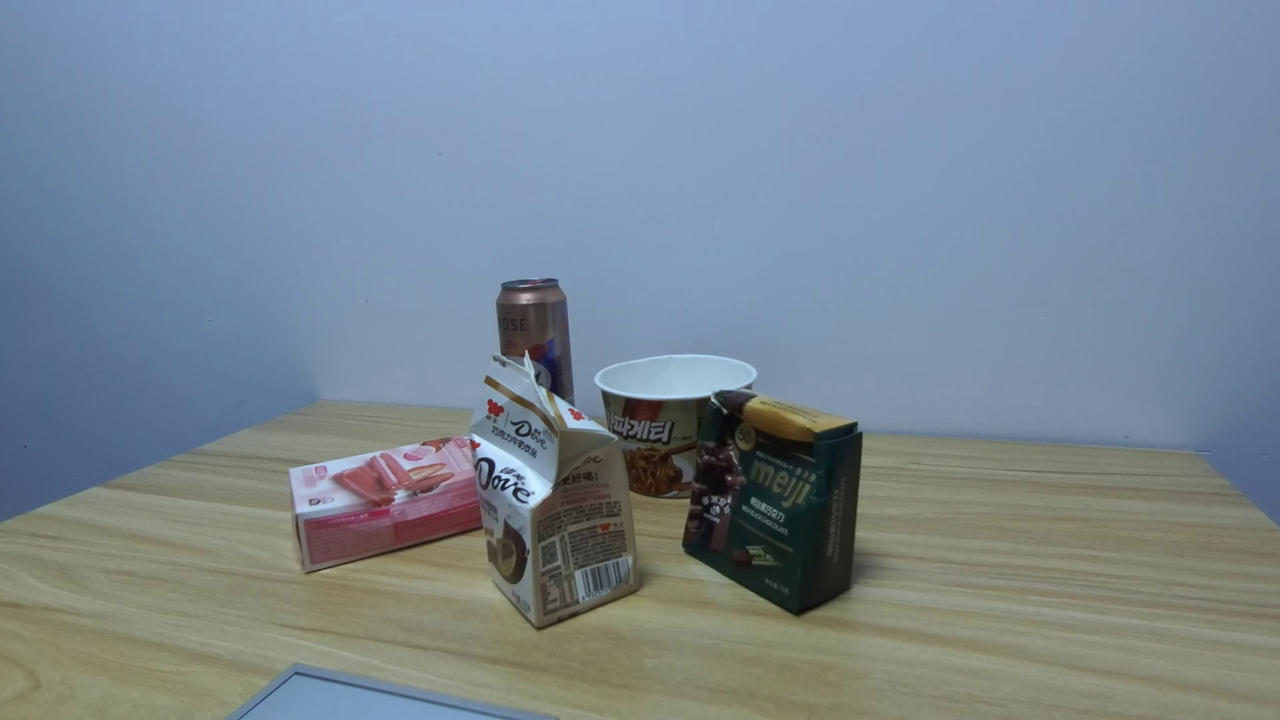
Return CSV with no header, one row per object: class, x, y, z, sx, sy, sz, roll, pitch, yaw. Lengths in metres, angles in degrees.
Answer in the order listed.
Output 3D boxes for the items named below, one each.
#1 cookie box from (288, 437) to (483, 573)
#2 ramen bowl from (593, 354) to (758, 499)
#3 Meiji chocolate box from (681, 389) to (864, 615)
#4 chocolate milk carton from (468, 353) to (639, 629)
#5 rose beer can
cookie box,-0.175,0.105,0.562,0.188,0.049,0.104,-10,15,-27
ramen bowl,0.033,0.056,0.615,0.140,0.095,0.140,-3,14,1
Meiji chocolate box,0.084,0.084,0.452,0.052,0.117,0.116,-4,12,-36
chocolate milk carton,-0.056,0.072,0.437,0.074,0.155,0.076,-14,18,-30
rose beer can,-0.099,0.010,0.684,0.068,0.169,0.068,-3,9,1
